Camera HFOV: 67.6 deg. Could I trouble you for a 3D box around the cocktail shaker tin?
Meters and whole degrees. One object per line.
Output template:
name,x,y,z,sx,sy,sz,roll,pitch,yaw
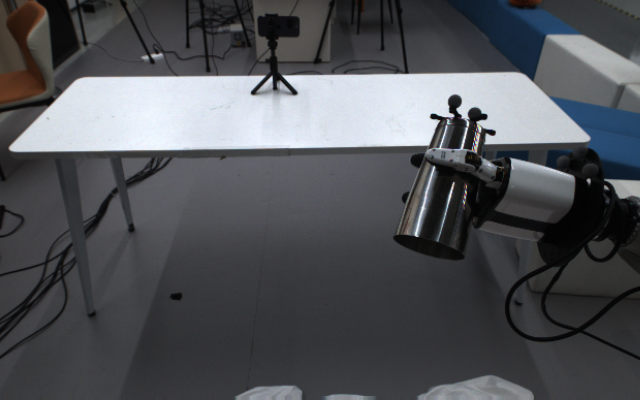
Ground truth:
cocktail shaker tin,0.164,-0.018,0.631,0.093,0.093,0.170,15,75,18
